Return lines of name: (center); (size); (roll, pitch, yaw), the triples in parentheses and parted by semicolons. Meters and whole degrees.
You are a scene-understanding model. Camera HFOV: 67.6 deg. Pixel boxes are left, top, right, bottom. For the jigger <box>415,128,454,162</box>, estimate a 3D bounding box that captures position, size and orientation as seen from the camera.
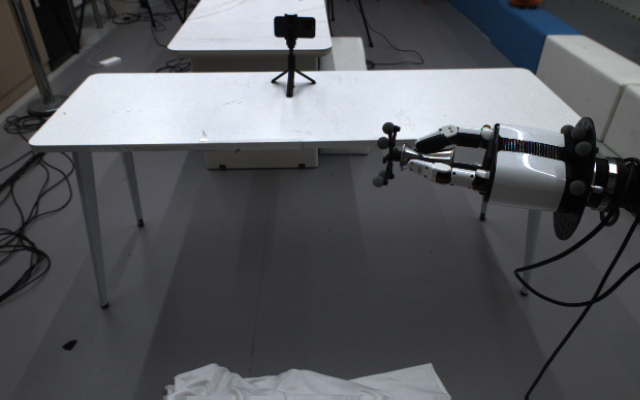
jigger: (0.154, -0.059, 0.666); (0.071, 0.043, 0.043); (9, 35, 17)
